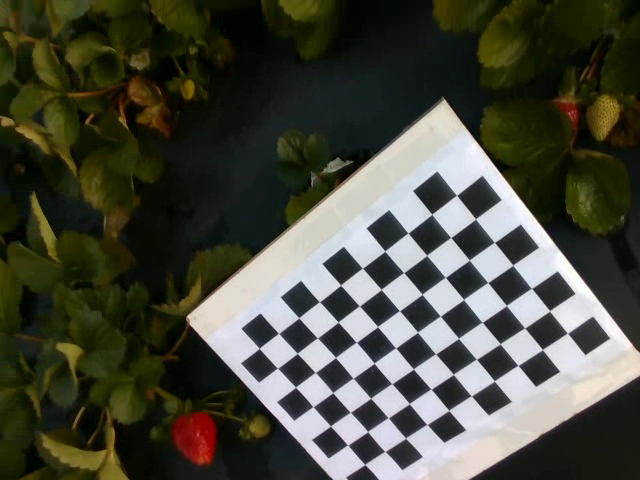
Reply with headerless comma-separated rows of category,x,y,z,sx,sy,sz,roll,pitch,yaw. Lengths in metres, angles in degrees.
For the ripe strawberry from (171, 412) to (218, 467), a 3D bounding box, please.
ripe strawberry,-0.118,0.194,0.701,0.052,0.043,0.057,10,29,-26
